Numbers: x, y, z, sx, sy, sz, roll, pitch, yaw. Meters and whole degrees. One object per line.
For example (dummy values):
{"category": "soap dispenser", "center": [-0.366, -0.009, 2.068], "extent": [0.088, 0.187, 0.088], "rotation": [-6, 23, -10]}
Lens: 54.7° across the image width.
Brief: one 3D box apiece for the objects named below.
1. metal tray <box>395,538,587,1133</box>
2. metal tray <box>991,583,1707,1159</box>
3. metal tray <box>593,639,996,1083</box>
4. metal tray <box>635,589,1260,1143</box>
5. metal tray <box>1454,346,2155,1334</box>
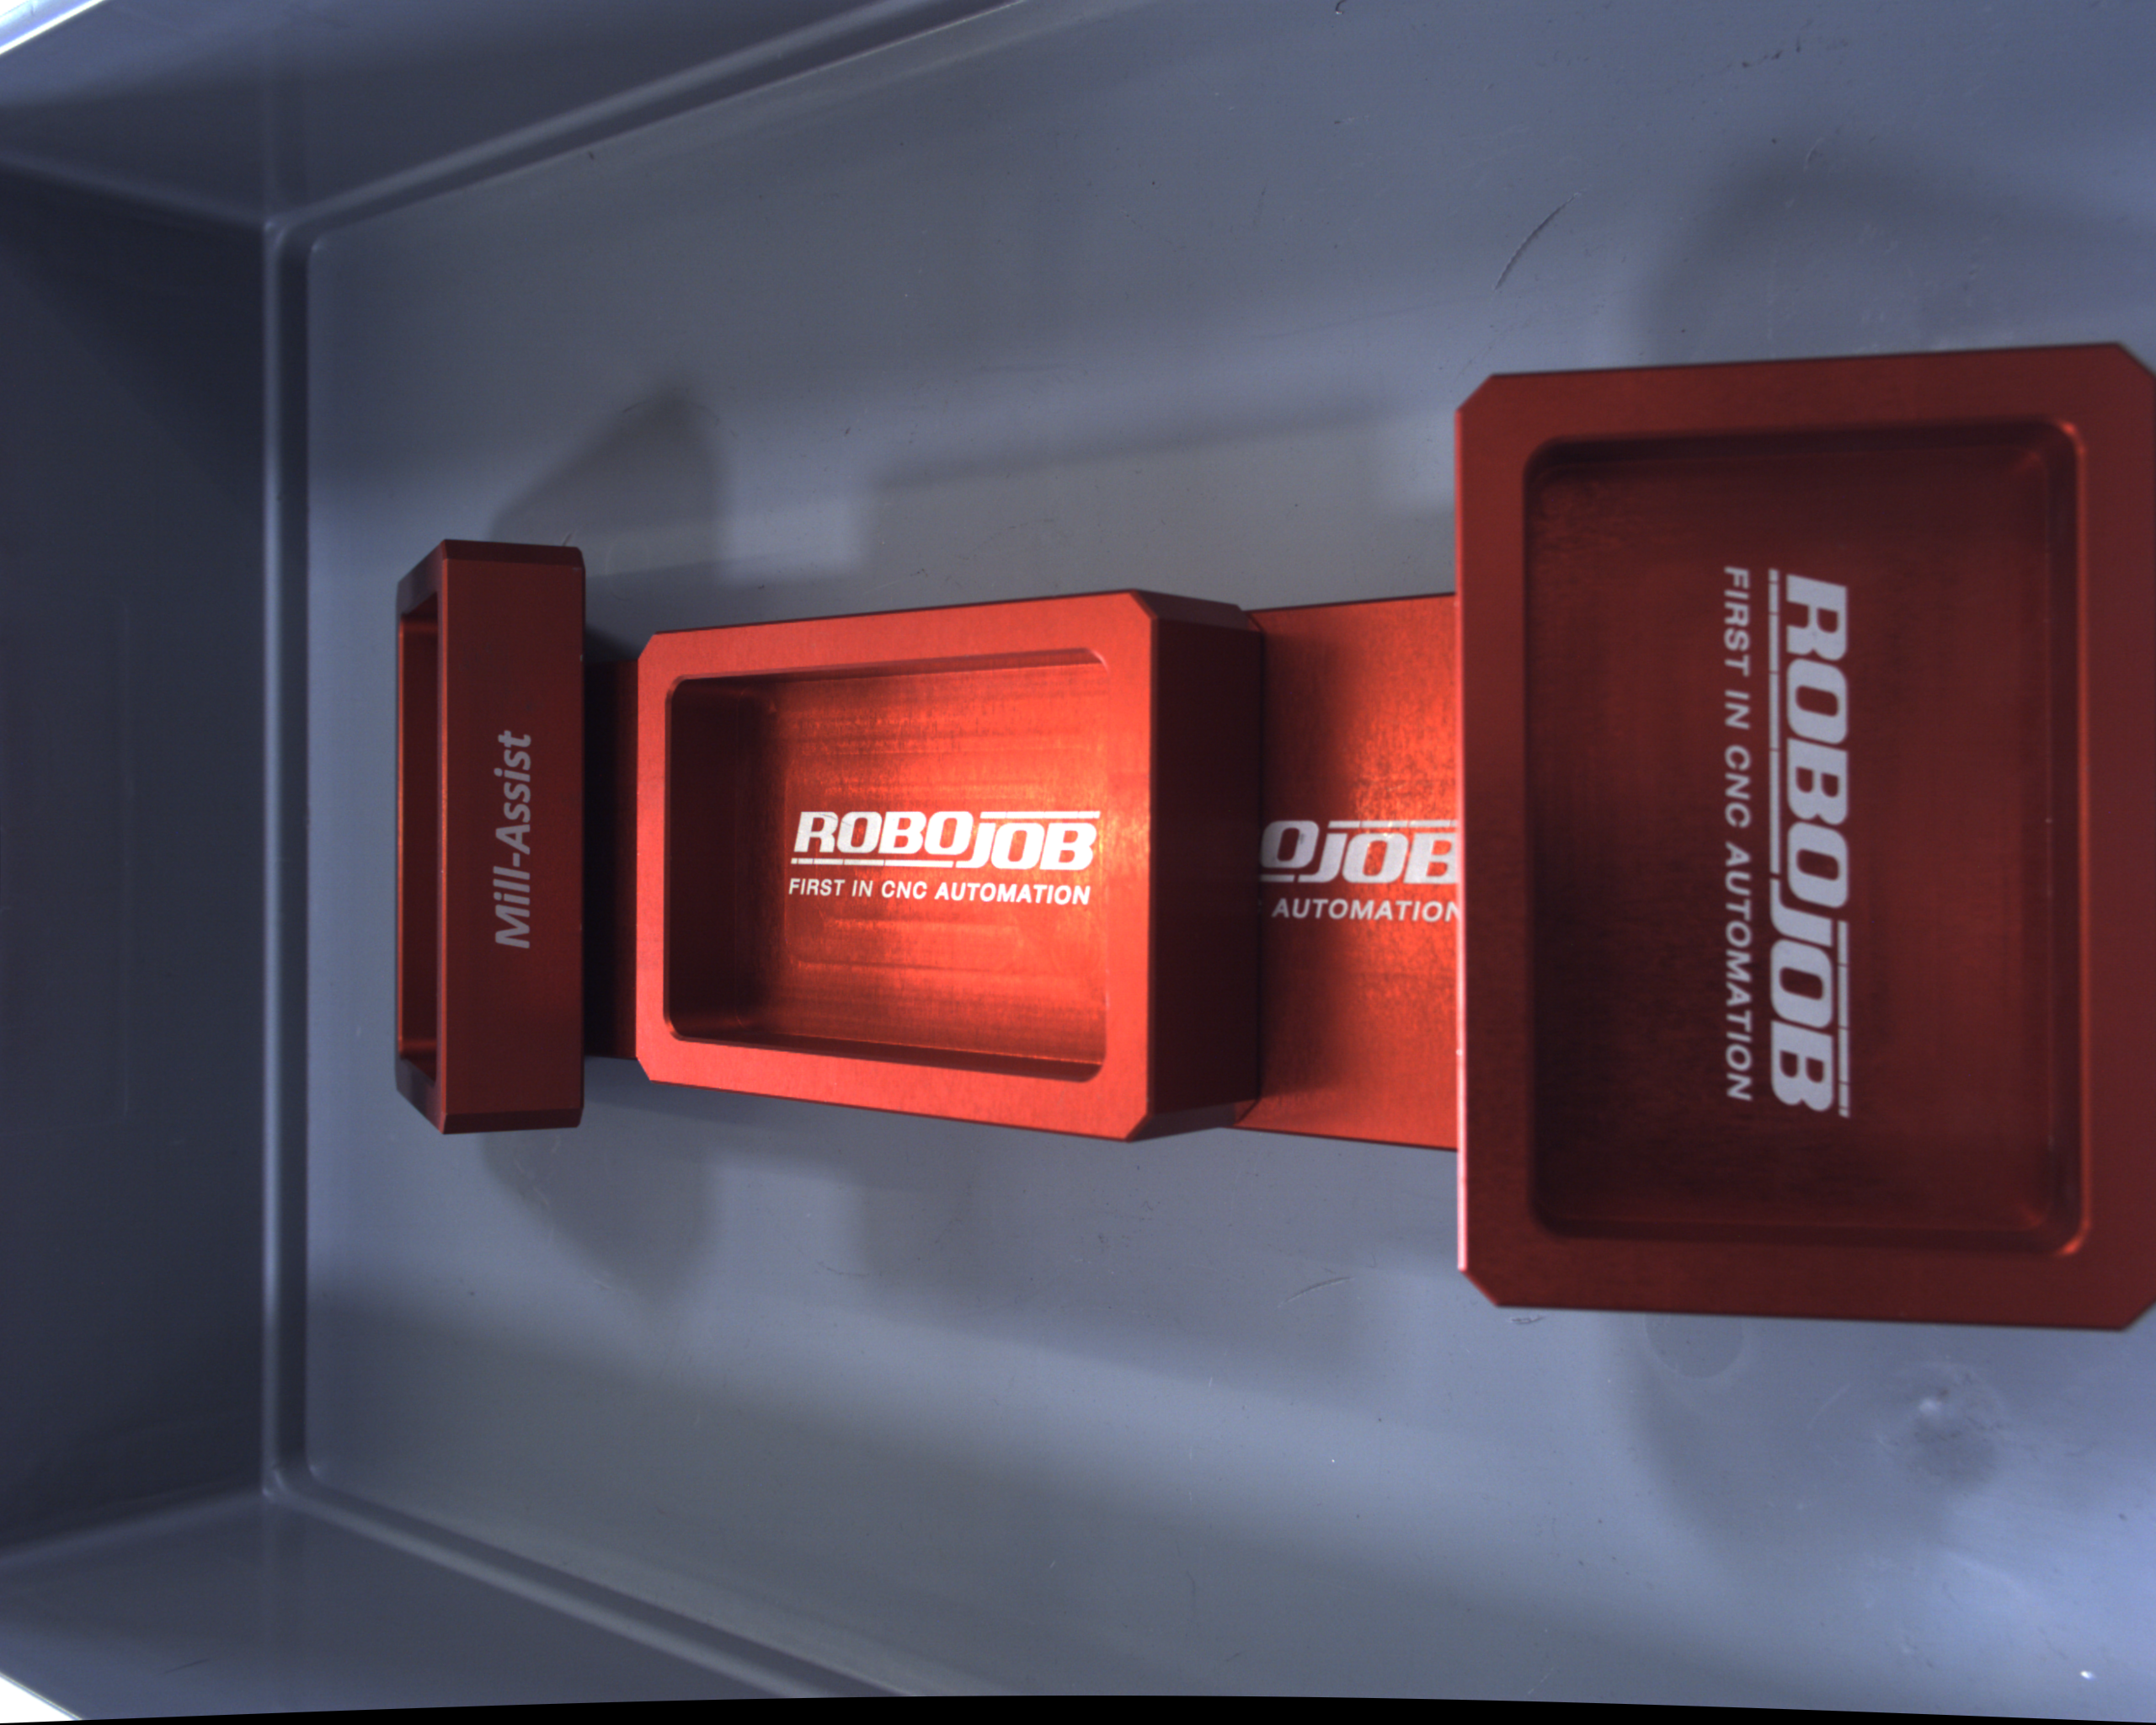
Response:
{"category": "metal tray", "center": [-0.141, -0.006, 0.495], "extent": [0.090, 0.030, 0.129], "rotation": [-179, 89, -65]}
{"category": "metal tray", "center": [0.042, 0.001, 0.367], "extent": [0.130, 0.030, 0.089], "rotation": [0, 90, 40]}
{"category": "metal tray", "center": [-0.057, -0.001, 0.450], "extent": [0.130, 0.030, 0.089], "rotation": [0, 90, 40]}
{"category": "metal tray", "center": [-0.029, 0.000, 0.386], "extent": [0.130, 0.030, 0.089], "rotation": [1, 90, 40]}
{"category": "metal tray", "center": [0.099, -0.003, 0.294], "extent": [0.090, 0.030, 0.129], "rotation": [0, 90, 11]}
